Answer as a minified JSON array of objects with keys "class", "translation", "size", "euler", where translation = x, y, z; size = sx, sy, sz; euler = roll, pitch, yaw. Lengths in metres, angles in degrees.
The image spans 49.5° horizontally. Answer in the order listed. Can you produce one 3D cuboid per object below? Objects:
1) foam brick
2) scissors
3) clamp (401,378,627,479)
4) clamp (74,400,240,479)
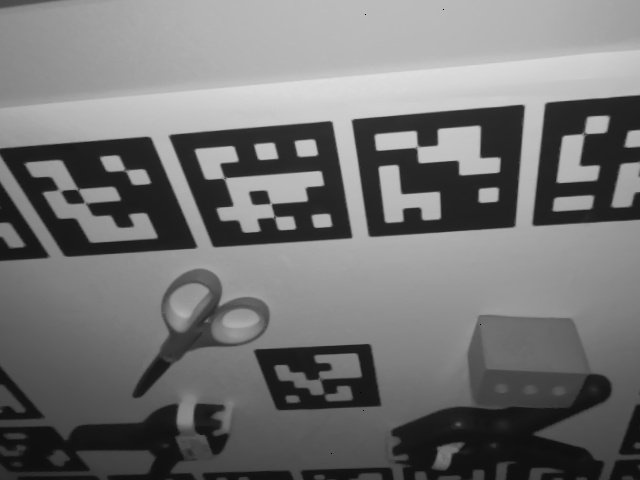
[{"class":"foam brick","translation":[0.176,0.090,0.561],"size":[0.078,0.052,0.052],"euler":[0,130,-2]},{"class":"scissors","translation":[-0.104,0.086,0.587],"size":[0.088,0.016,0.199],"euler":[31,127,-13]},{"class":"clamp","translation":[0.177,0.190,0.654],"size":[0.202,0.037,0.164],"euler":[-6,133,9]},{"class":"clamp","translation":[-0.147,0.200,0.685],"size":[0.163,0.037,0.122],"euler":[-27,118,23]}]
